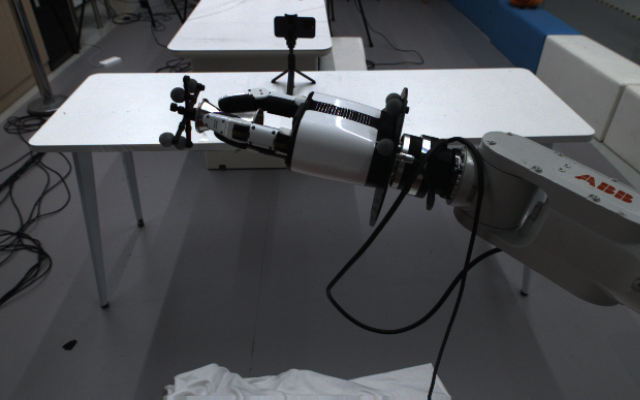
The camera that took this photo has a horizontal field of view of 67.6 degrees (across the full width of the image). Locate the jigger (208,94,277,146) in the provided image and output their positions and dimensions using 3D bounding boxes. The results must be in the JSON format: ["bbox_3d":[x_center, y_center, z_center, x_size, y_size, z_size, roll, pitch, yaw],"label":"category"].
[{"bbox_3d":[-0.097,-0.093,0.555,0.071,0.043,0.043,12,36,5],"label":"jigger"}]
